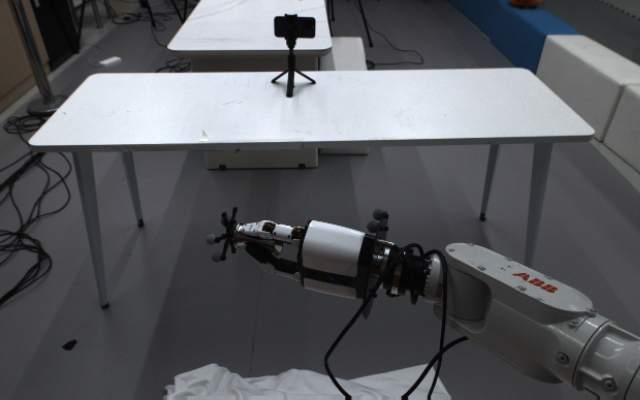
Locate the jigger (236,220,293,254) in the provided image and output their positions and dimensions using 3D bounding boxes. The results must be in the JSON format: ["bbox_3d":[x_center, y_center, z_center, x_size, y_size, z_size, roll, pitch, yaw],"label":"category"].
[{"bbox_3d":[-0.088,0.054,0.751,0.071,0.043,0.043,8,35,14],"label":"jigger"}]
